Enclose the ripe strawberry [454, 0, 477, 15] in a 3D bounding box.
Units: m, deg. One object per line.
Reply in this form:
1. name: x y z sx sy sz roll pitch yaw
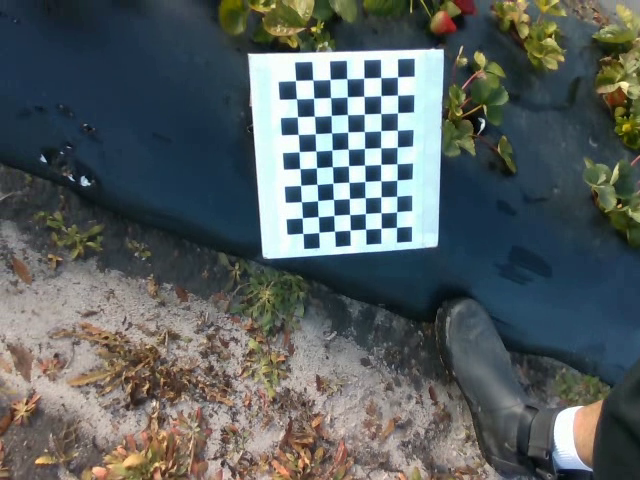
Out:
1. ripe strawberry: 0.286 -0.457 1.227 0.064 0.049 0.050 38 7 -14
